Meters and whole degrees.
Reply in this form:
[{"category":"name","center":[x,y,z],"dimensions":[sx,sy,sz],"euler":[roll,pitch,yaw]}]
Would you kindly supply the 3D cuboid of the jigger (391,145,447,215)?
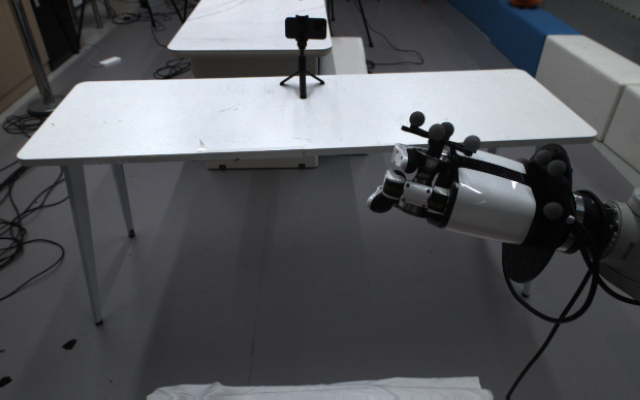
[{"category":"jigger","center":[0.115,-0.019,0.544],"dimensions":[0.043,0.071,0.043],"euler":[18,17,-6]}]
